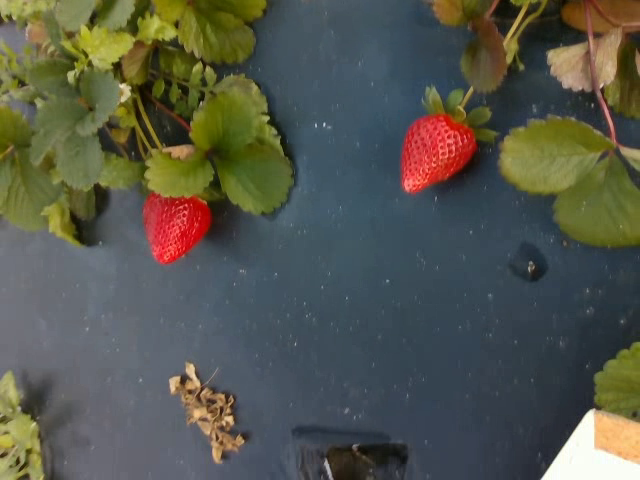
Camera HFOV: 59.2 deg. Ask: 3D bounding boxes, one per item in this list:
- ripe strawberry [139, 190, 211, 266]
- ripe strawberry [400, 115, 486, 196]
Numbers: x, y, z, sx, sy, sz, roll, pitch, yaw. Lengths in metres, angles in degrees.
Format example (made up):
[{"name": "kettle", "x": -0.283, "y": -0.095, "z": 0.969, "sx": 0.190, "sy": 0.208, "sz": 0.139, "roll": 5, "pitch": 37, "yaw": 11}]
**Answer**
[{"name": "ripe strawberry", "x": -0.088, "y": -0.004, "z": 0.333, "sx": 0.050, "sy": 0.050, "sz": 0.046, "roll": 16, "pitch": -37, "yaw": 2}, {"name": "ripe strawberry", "x": 0.053, "y": -0.038, "z": 0.273, "sx": 0.044, "sy": 0.052, "sz": 0.041, "roll": 34, "pitch": -10, "yaw": -12}]
